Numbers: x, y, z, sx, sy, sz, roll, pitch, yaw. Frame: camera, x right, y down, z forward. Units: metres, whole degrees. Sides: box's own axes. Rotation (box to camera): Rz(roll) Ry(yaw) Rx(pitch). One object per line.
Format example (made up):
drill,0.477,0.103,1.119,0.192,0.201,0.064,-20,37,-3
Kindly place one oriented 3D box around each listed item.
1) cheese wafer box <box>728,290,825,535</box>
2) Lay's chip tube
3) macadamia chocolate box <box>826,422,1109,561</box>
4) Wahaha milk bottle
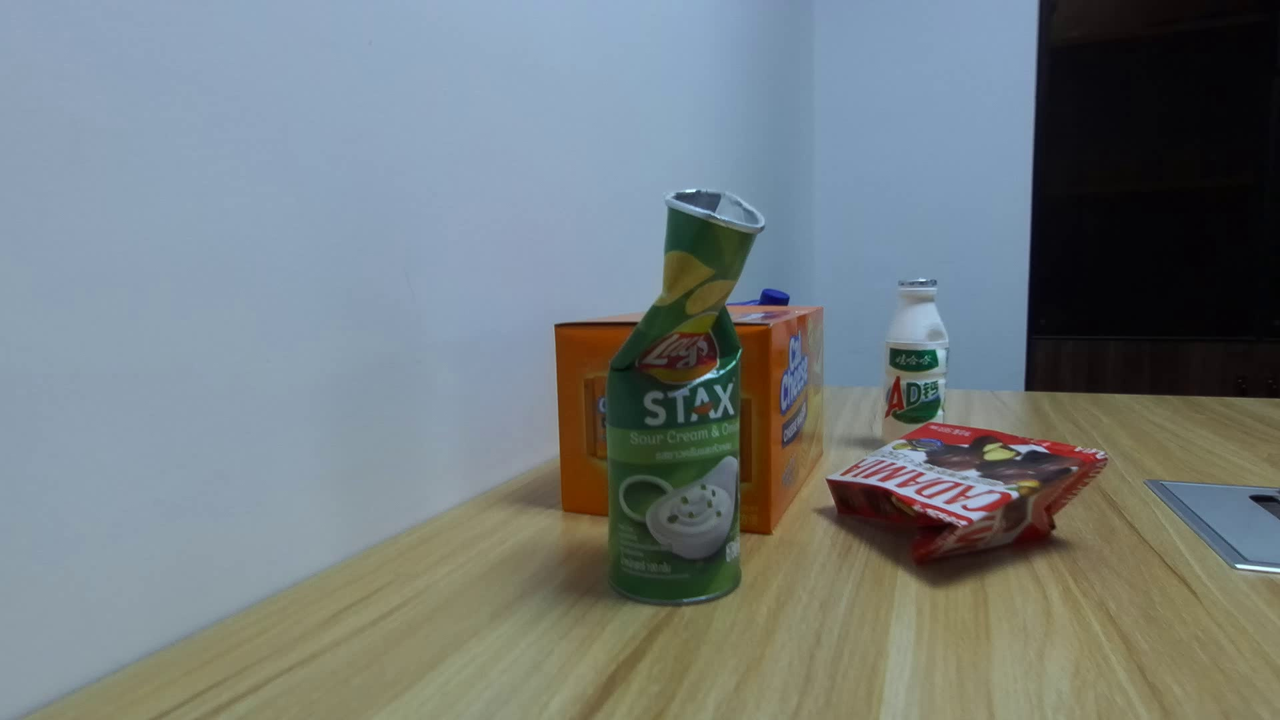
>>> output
cheese wafer box,0.052,0.030,0.535,0.148,0.129,0.222,1,6,22
Lay's chip tube,0.024,0.018,0.345,0.070,0.199,0.079,10,12,35
macadamia chocolate box,0.179,0.074,0.414,0.112,0.056,0.126,-4,7,-23
Wahaha milk bottle,0.238,0.010,0.605,0.053,0.136,0.053,-2,9,1
